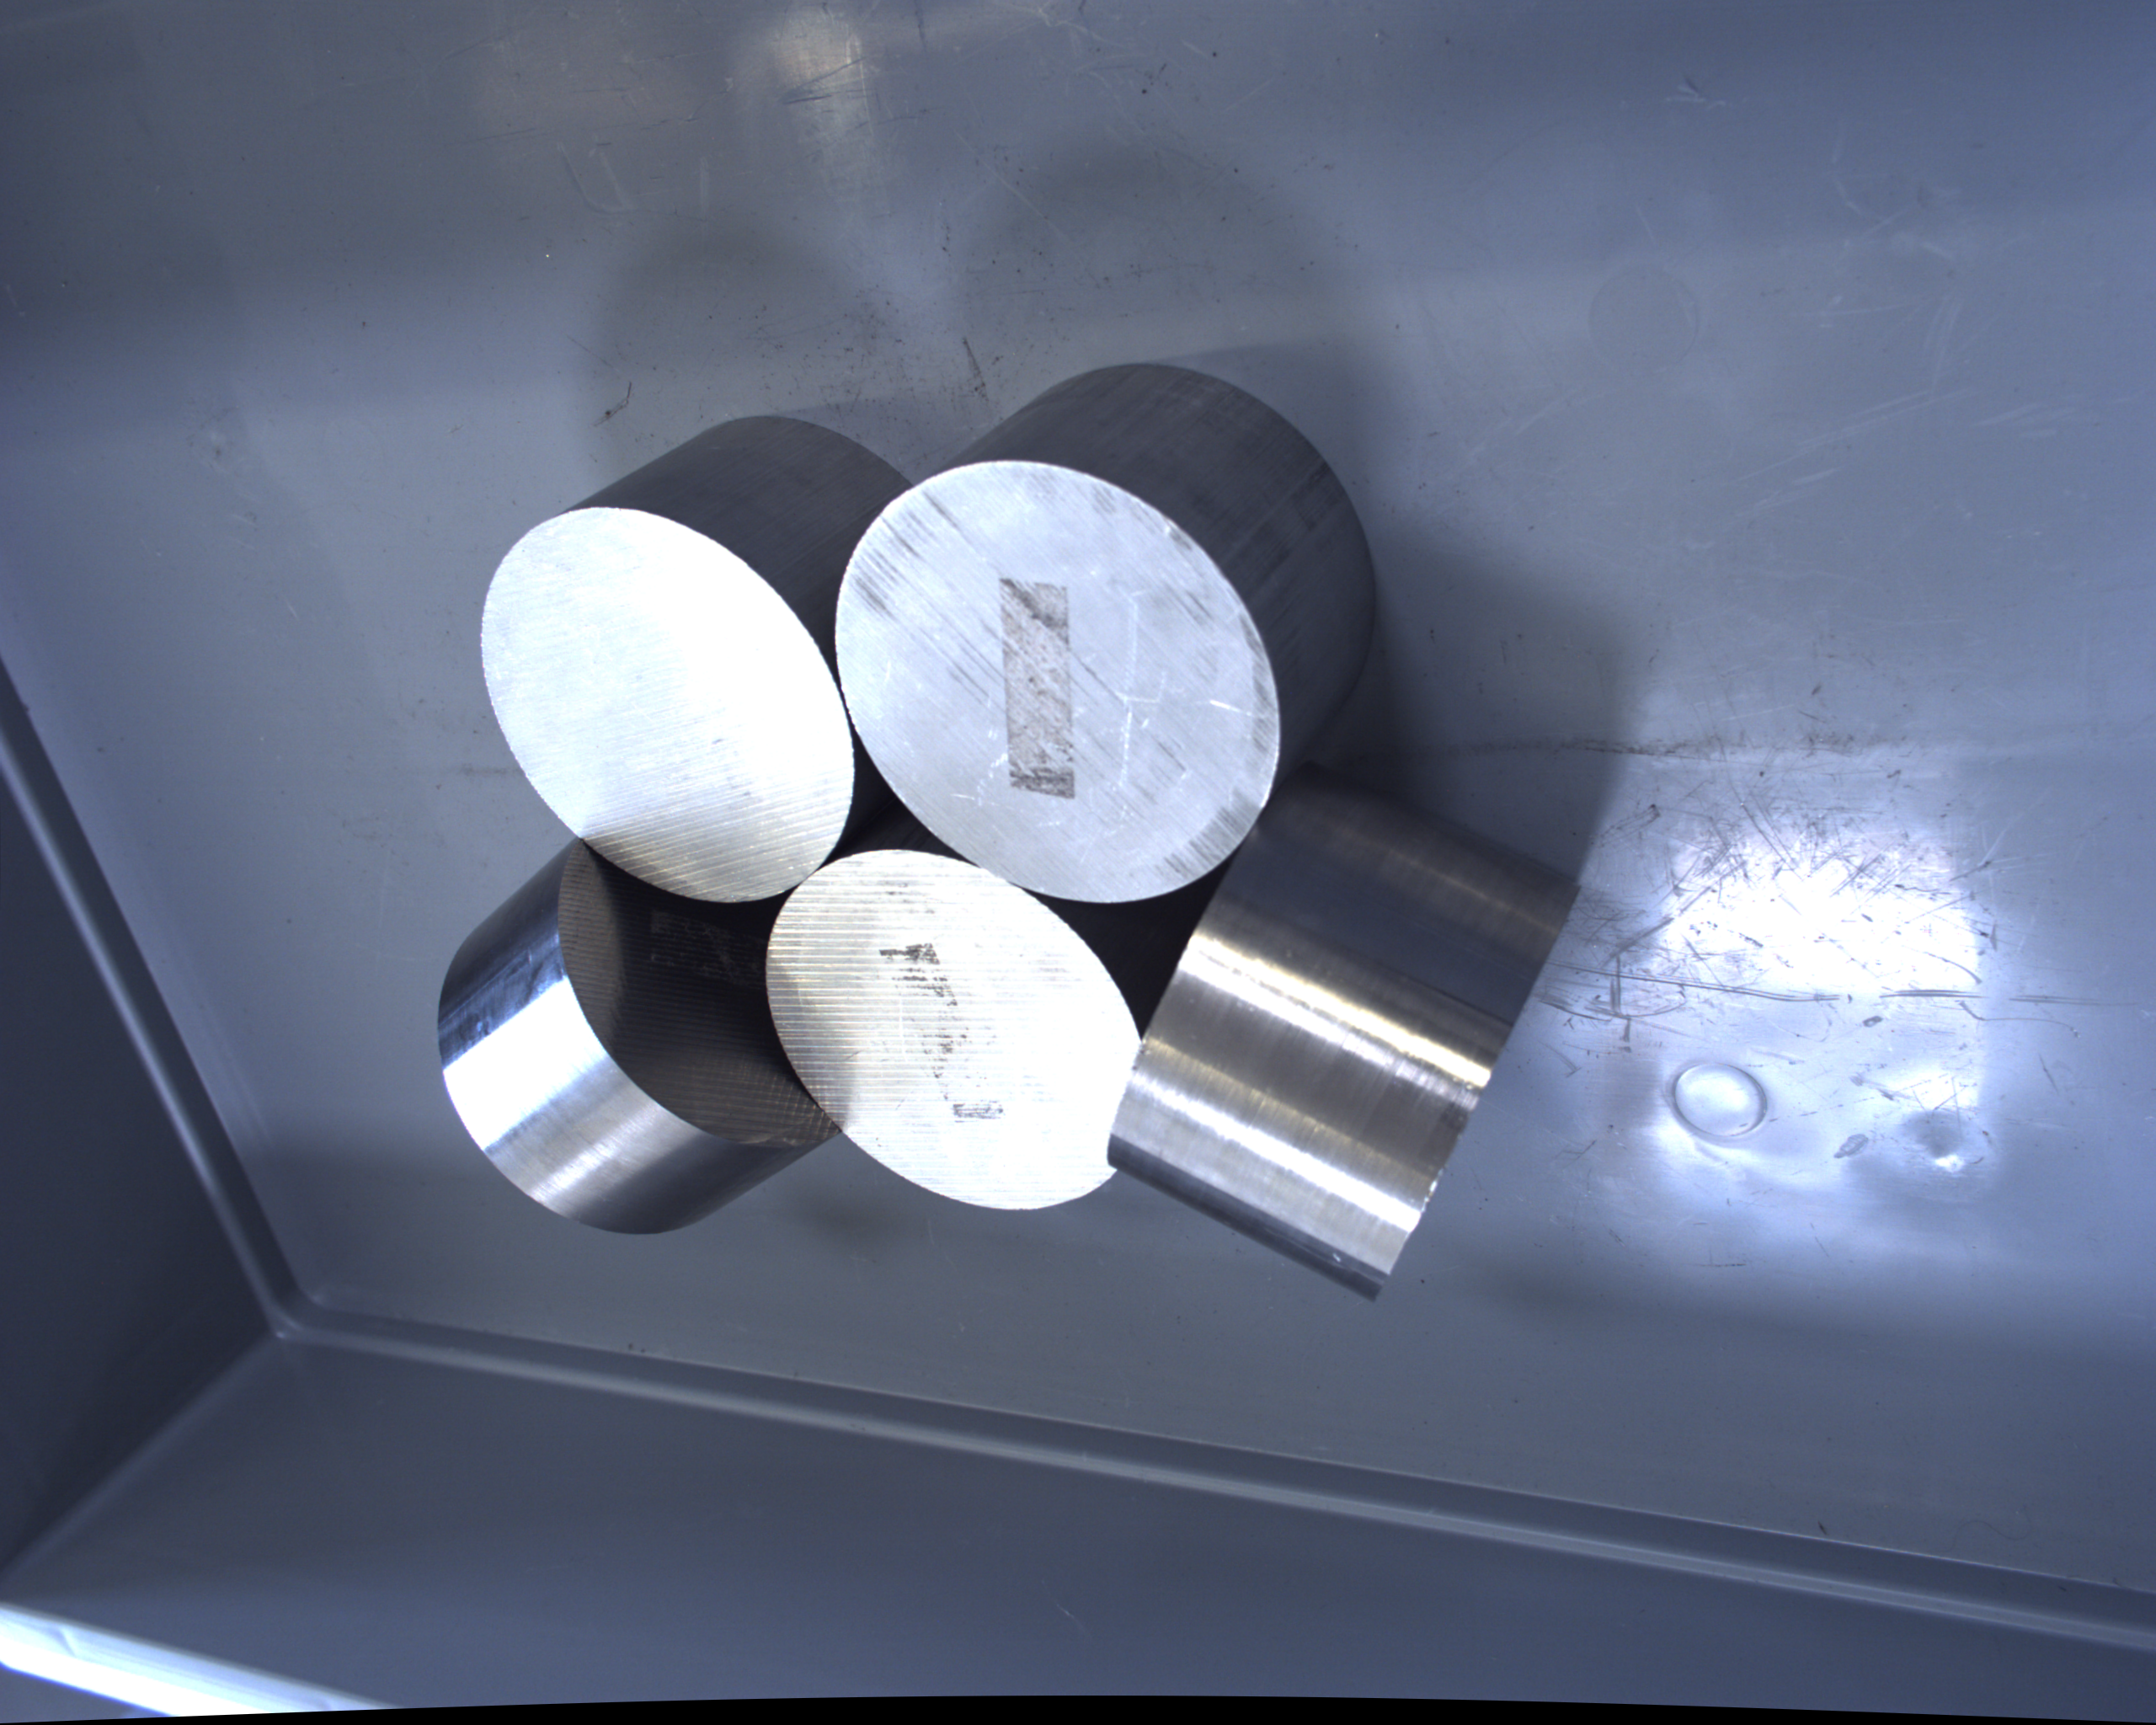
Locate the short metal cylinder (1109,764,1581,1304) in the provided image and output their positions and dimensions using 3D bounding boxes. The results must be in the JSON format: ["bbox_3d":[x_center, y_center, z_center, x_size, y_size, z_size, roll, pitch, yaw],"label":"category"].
[{"bbox_3d":[0.047,0.029,0.364,0.050,0.080,0.079,26,128,12],"label":"short metal cylinder"}]

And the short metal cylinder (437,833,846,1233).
[{"bbox_3d":[-0.084,0.031,0.435,0.050,0.080,0.080,-34,99,38],"label":"short metal cylinder"}]

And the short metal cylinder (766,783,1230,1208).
[{"bbox_3d":[-0.013,0.021,0.410,0.080,0.050,0.079,13,124,21],"label":"short metal cylinder"}]

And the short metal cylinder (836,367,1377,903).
[{"bbox_3d":[0.006,-0.040,0.363,0.080,0.050,0.079,13,124,21],"label":"short metal cylinder"}]

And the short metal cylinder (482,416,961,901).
[{"bbox_3d":[-0.065,-0.039,0.401,0.080,0.050,0.079,13,124,21],"label":"short metal cylinder"}]
